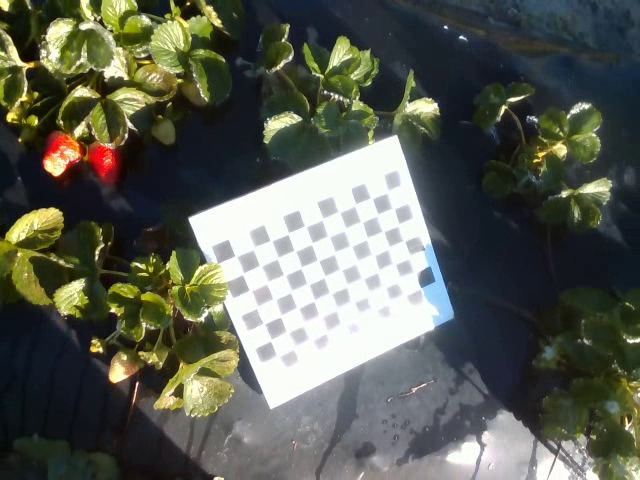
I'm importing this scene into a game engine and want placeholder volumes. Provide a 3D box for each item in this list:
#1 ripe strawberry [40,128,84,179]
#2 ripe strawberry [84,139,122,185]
[{"bbox_3d":[-0.347,-0.111,0.747,0.052,0.070,0.040,25,-6,-24],"label":"ripe strawberry"},{"bbox_3d":[-0.293,-0.108,0.752,0.043,0.059,0.040,-23,9,-10],"label":"ripe strawberry"}]
